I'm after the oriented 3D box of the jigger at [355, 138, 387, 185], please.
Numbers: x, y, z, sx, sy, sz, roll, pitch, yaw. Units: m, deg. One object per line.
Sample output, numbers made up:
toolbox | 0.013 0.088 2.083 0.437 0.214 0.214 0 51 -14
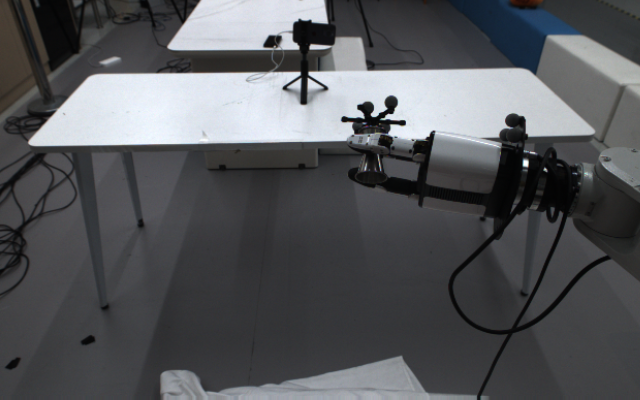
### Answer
jigger | 0.068 -0.062 0.657 0.043 0.043 0.071 4 71 3
